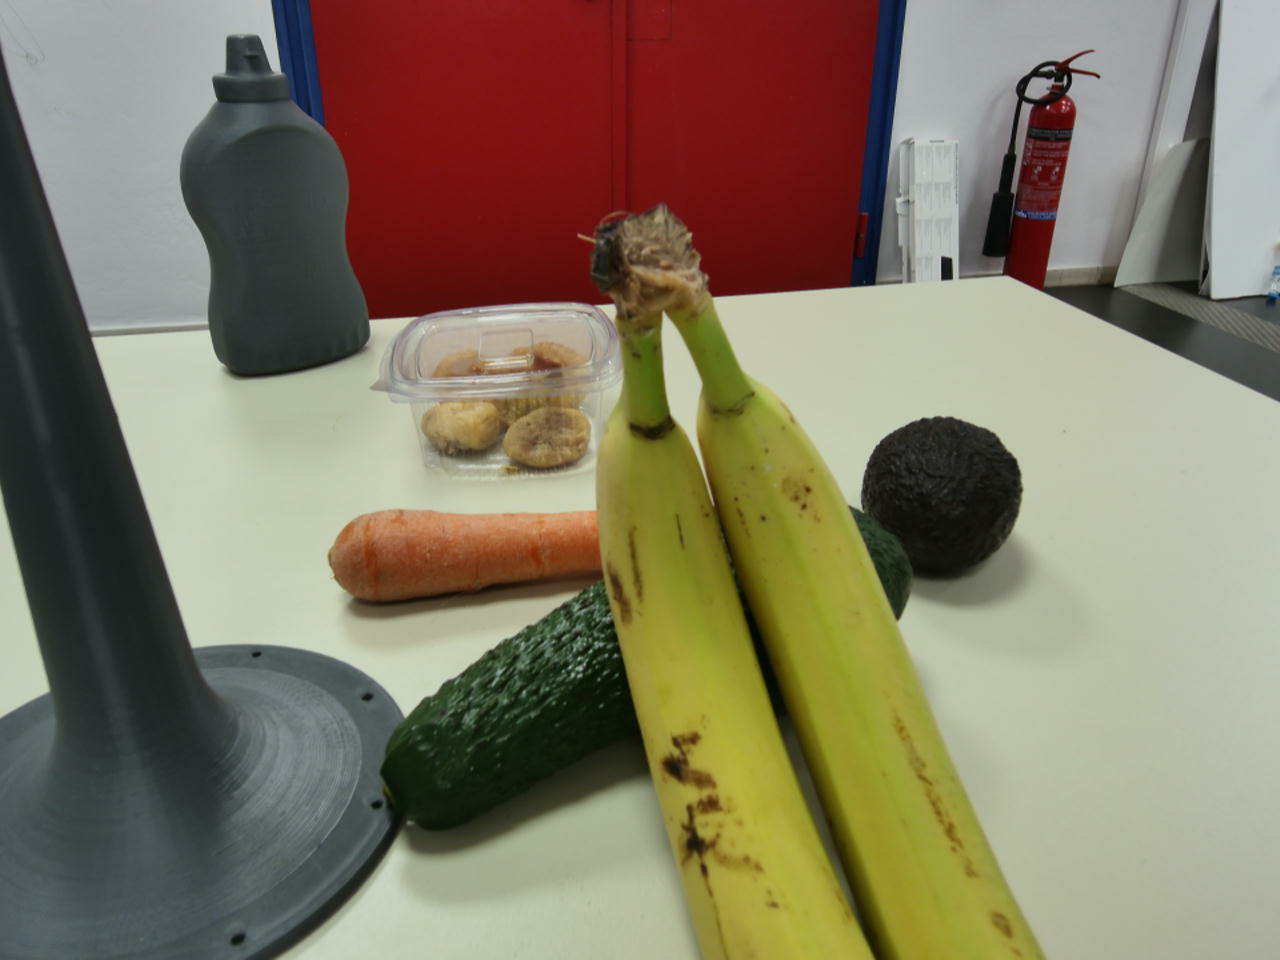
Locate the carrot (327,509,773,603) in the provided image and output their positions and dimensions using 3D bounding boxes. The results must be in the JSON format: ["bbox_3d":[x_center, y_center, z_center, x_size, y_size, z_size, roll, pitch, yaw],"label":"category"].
[{"bbox_3d":[-0.034,0.026,0.438,0.196,0.041,0.039,-6,25,-12],"label":"carrot"}]
